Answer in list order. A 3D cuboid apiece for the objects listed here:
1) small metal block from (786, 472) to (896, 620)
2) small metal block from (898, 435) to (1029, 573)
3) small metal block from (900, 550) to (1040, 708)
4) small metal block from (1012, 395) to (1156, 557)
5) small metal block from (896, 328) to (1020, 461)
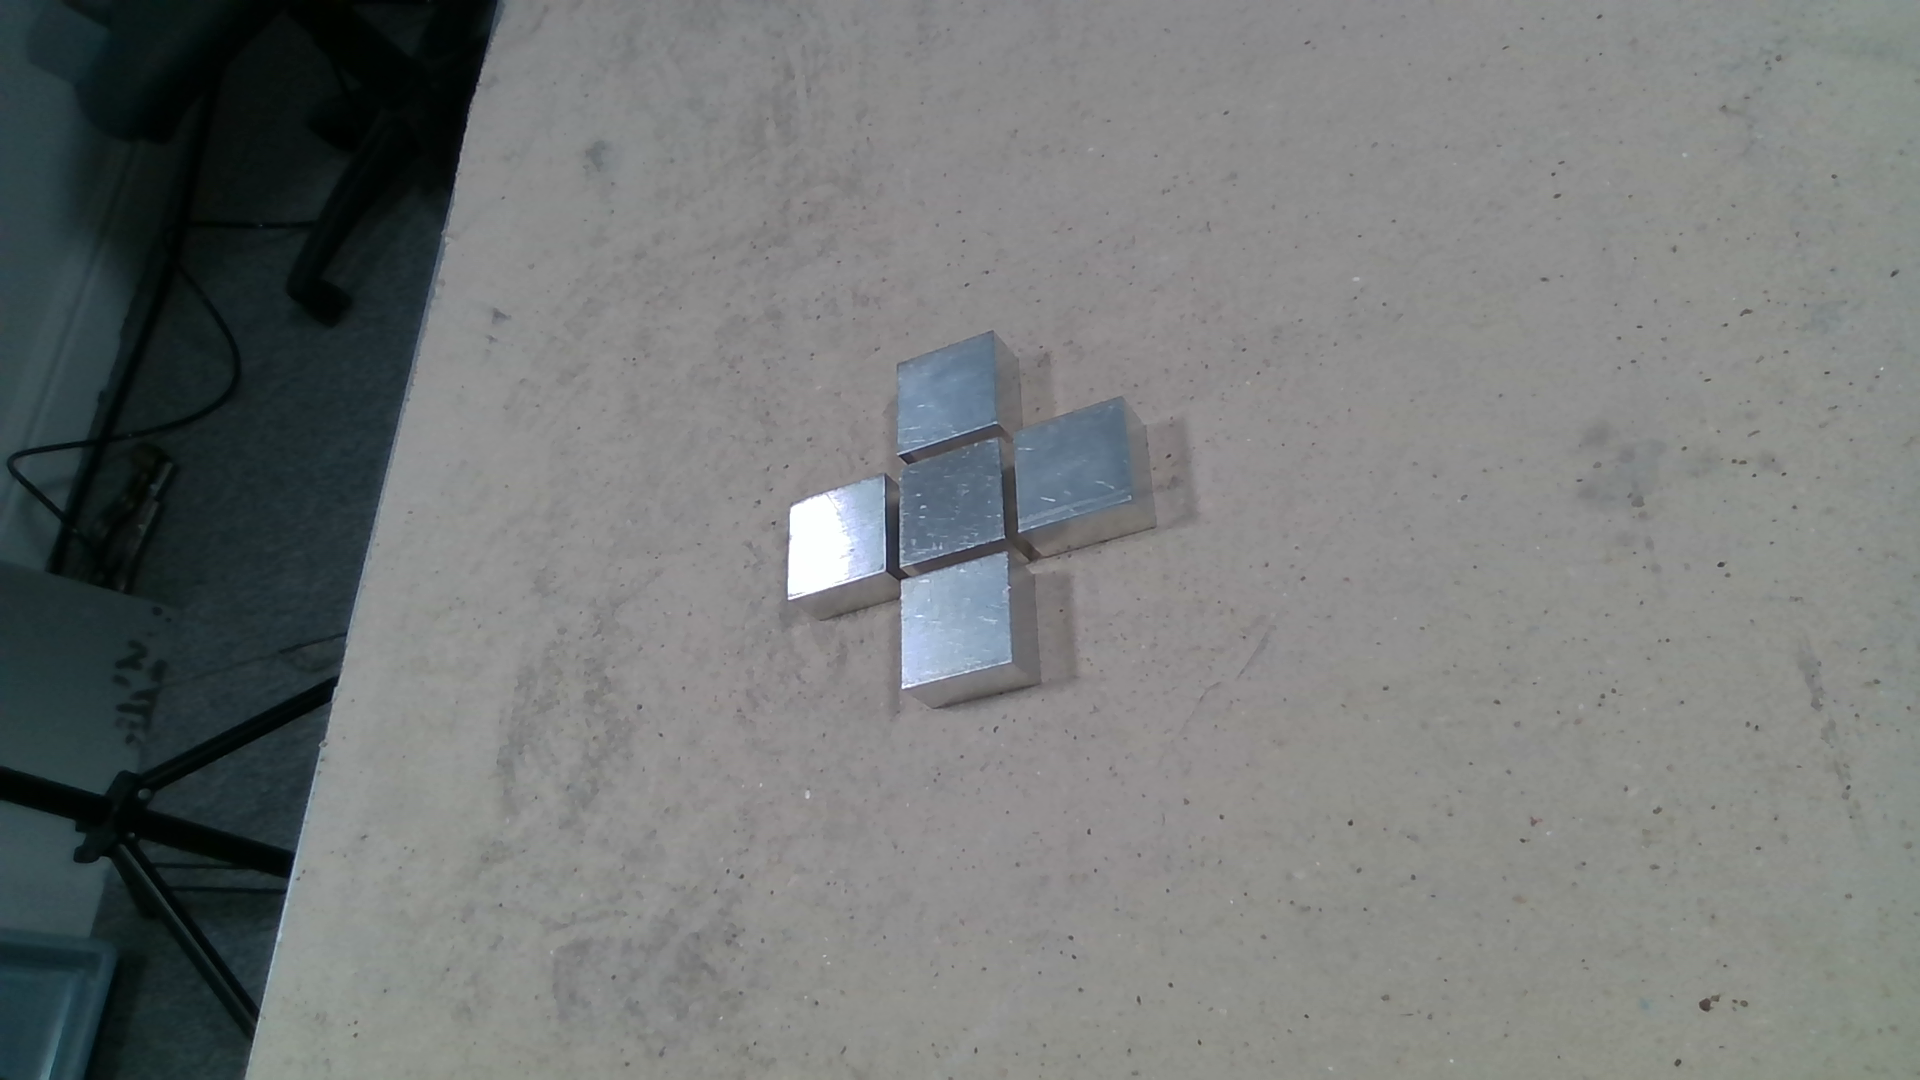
[{"bbox_3d":[-0.049,0.003,0.614,0.050,0.025,0.050,-17,58,24],"label":"small metal block"},{"bbox_3d":[0.001,-0.011,0.591,0.050,0.025,0.050,-16,58,24],"label":"small metal block"},{"bbox_3d":[0.004,0.037,0.564,0.050,0.025,0.050,-16,58,24],"label":"small metal block"},{"bbox_3d":[0.051,-0.026,0.568,0.050,0.025,0.050,-16,58,24],"label":"small metal block"},{"bbox_3d":[-0.001,-0.060,0.618,0.050,0.025,0.050,-16,58,24],"label":"small metal block"}]
